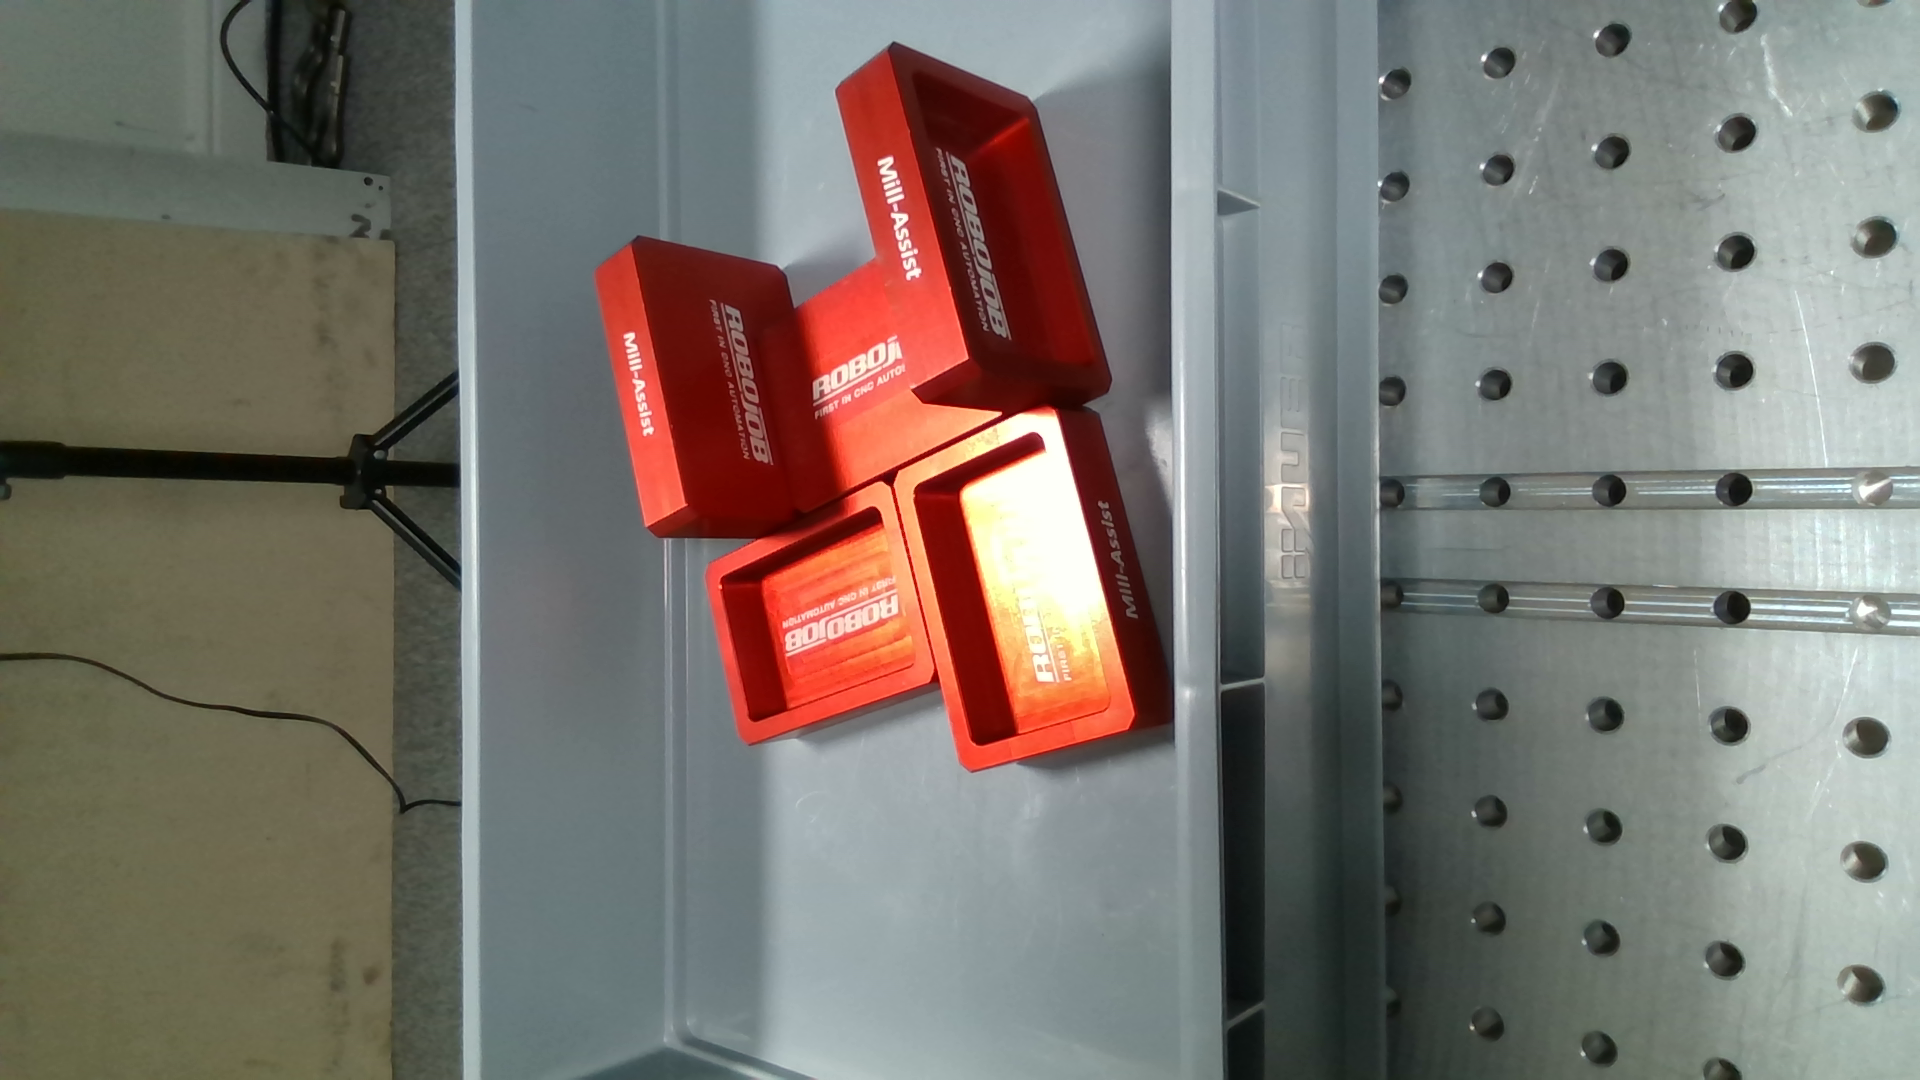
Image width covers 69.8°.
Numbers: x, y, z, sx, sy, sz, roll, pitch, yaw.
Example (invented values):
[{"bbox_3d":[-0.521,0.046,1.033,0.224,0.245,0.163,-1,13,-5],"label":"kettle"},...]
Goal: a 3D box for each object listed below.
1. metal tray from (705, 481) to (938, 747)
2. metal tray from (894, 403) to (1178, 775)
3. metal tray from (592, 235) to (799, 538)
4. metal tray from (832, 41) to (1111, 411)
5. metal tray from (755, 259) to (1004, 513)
[{"bbox_3d":[-0.057,0.036,0.626,0.130,0.030,0.090,-22,76,38],"label":"metal tray"},{"bbox_3d":[0.028,0.021,0.554,0.090,0.030,0.130,-22,76,38],"label":"metal tray"},{"bbox_3d":[-0.111,-0.067,0.629,0.030,0.090,0.130,-22,76,38],"label":"metal tray"},{"bbox_3d":[0.006,-0.116,0.529,0.030,0.090,0.130,-23,76,38],"label":"metal tray"},{"bbox_3d":[-0.029,-0.073,0.599,0.130,0.030,0.090,-22,76,38],"label":"metal tray"}]
